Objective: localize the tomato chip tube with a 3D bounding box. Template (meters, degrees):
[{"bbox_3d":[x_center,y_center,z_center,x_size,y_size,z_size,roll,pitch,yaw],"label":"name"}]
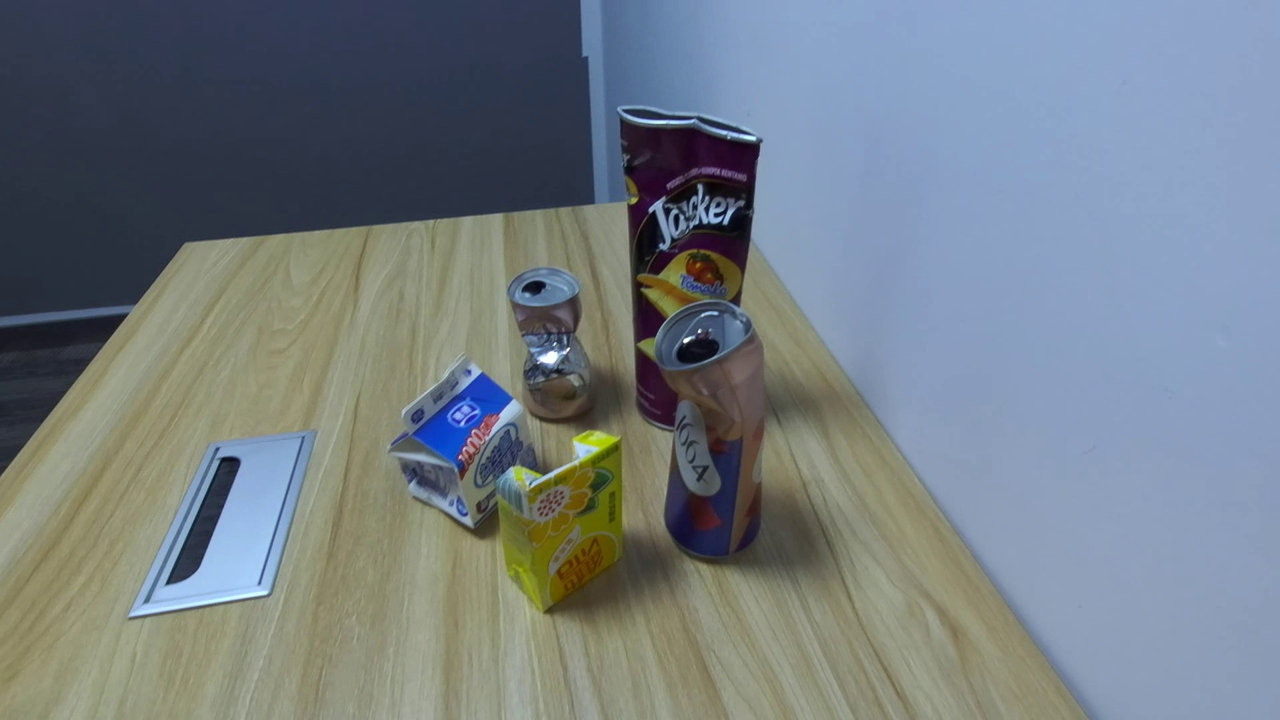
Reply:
[{"bbox_3d":[0.031,-0.059,0.519,0.078,0.236,0.090,-7,38,-7],"label":"tomato chip tube"}]

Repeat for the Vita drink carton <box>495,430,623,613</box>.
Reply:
[{"bbox_3d":[-0.048,0.089,0.426,0.071,0.110,0.046,-26,44,-32],"label":"Vita drink carton"}]

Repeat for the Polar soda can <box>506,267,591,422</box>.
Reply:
[{"bbox_3d":[-0.069,-0.010,0.563,0.074,0.114,0.070,21,45,33],"label":"Polar soda can"}]

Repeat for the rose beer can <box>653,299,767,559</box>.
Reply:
[{"bbox_3d":[0.045,0.047,0.432,0.069,0.168,0.070,15,42,24],"label":"rose beer can"}]

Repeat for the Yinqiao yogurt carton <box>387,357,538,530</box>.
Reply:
[{"bbox_3d":[-0.131,0.052,0.493,0.080,0.097,0.074,9,35,28],"label":"Yinqiao yogurt carton"}]
